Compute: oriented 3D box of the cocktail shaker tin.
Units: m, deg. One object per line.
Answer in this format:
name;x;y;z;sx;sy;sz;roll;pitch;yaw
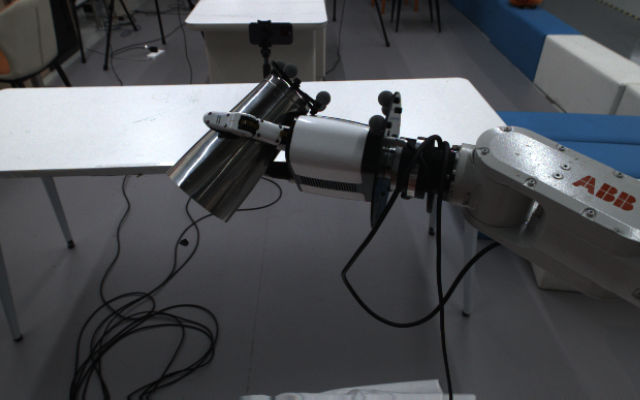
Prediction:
cocktail shaker tin;-0.091;-0.070;0.585;0.170;0.093;0.093;-48;49;-4
